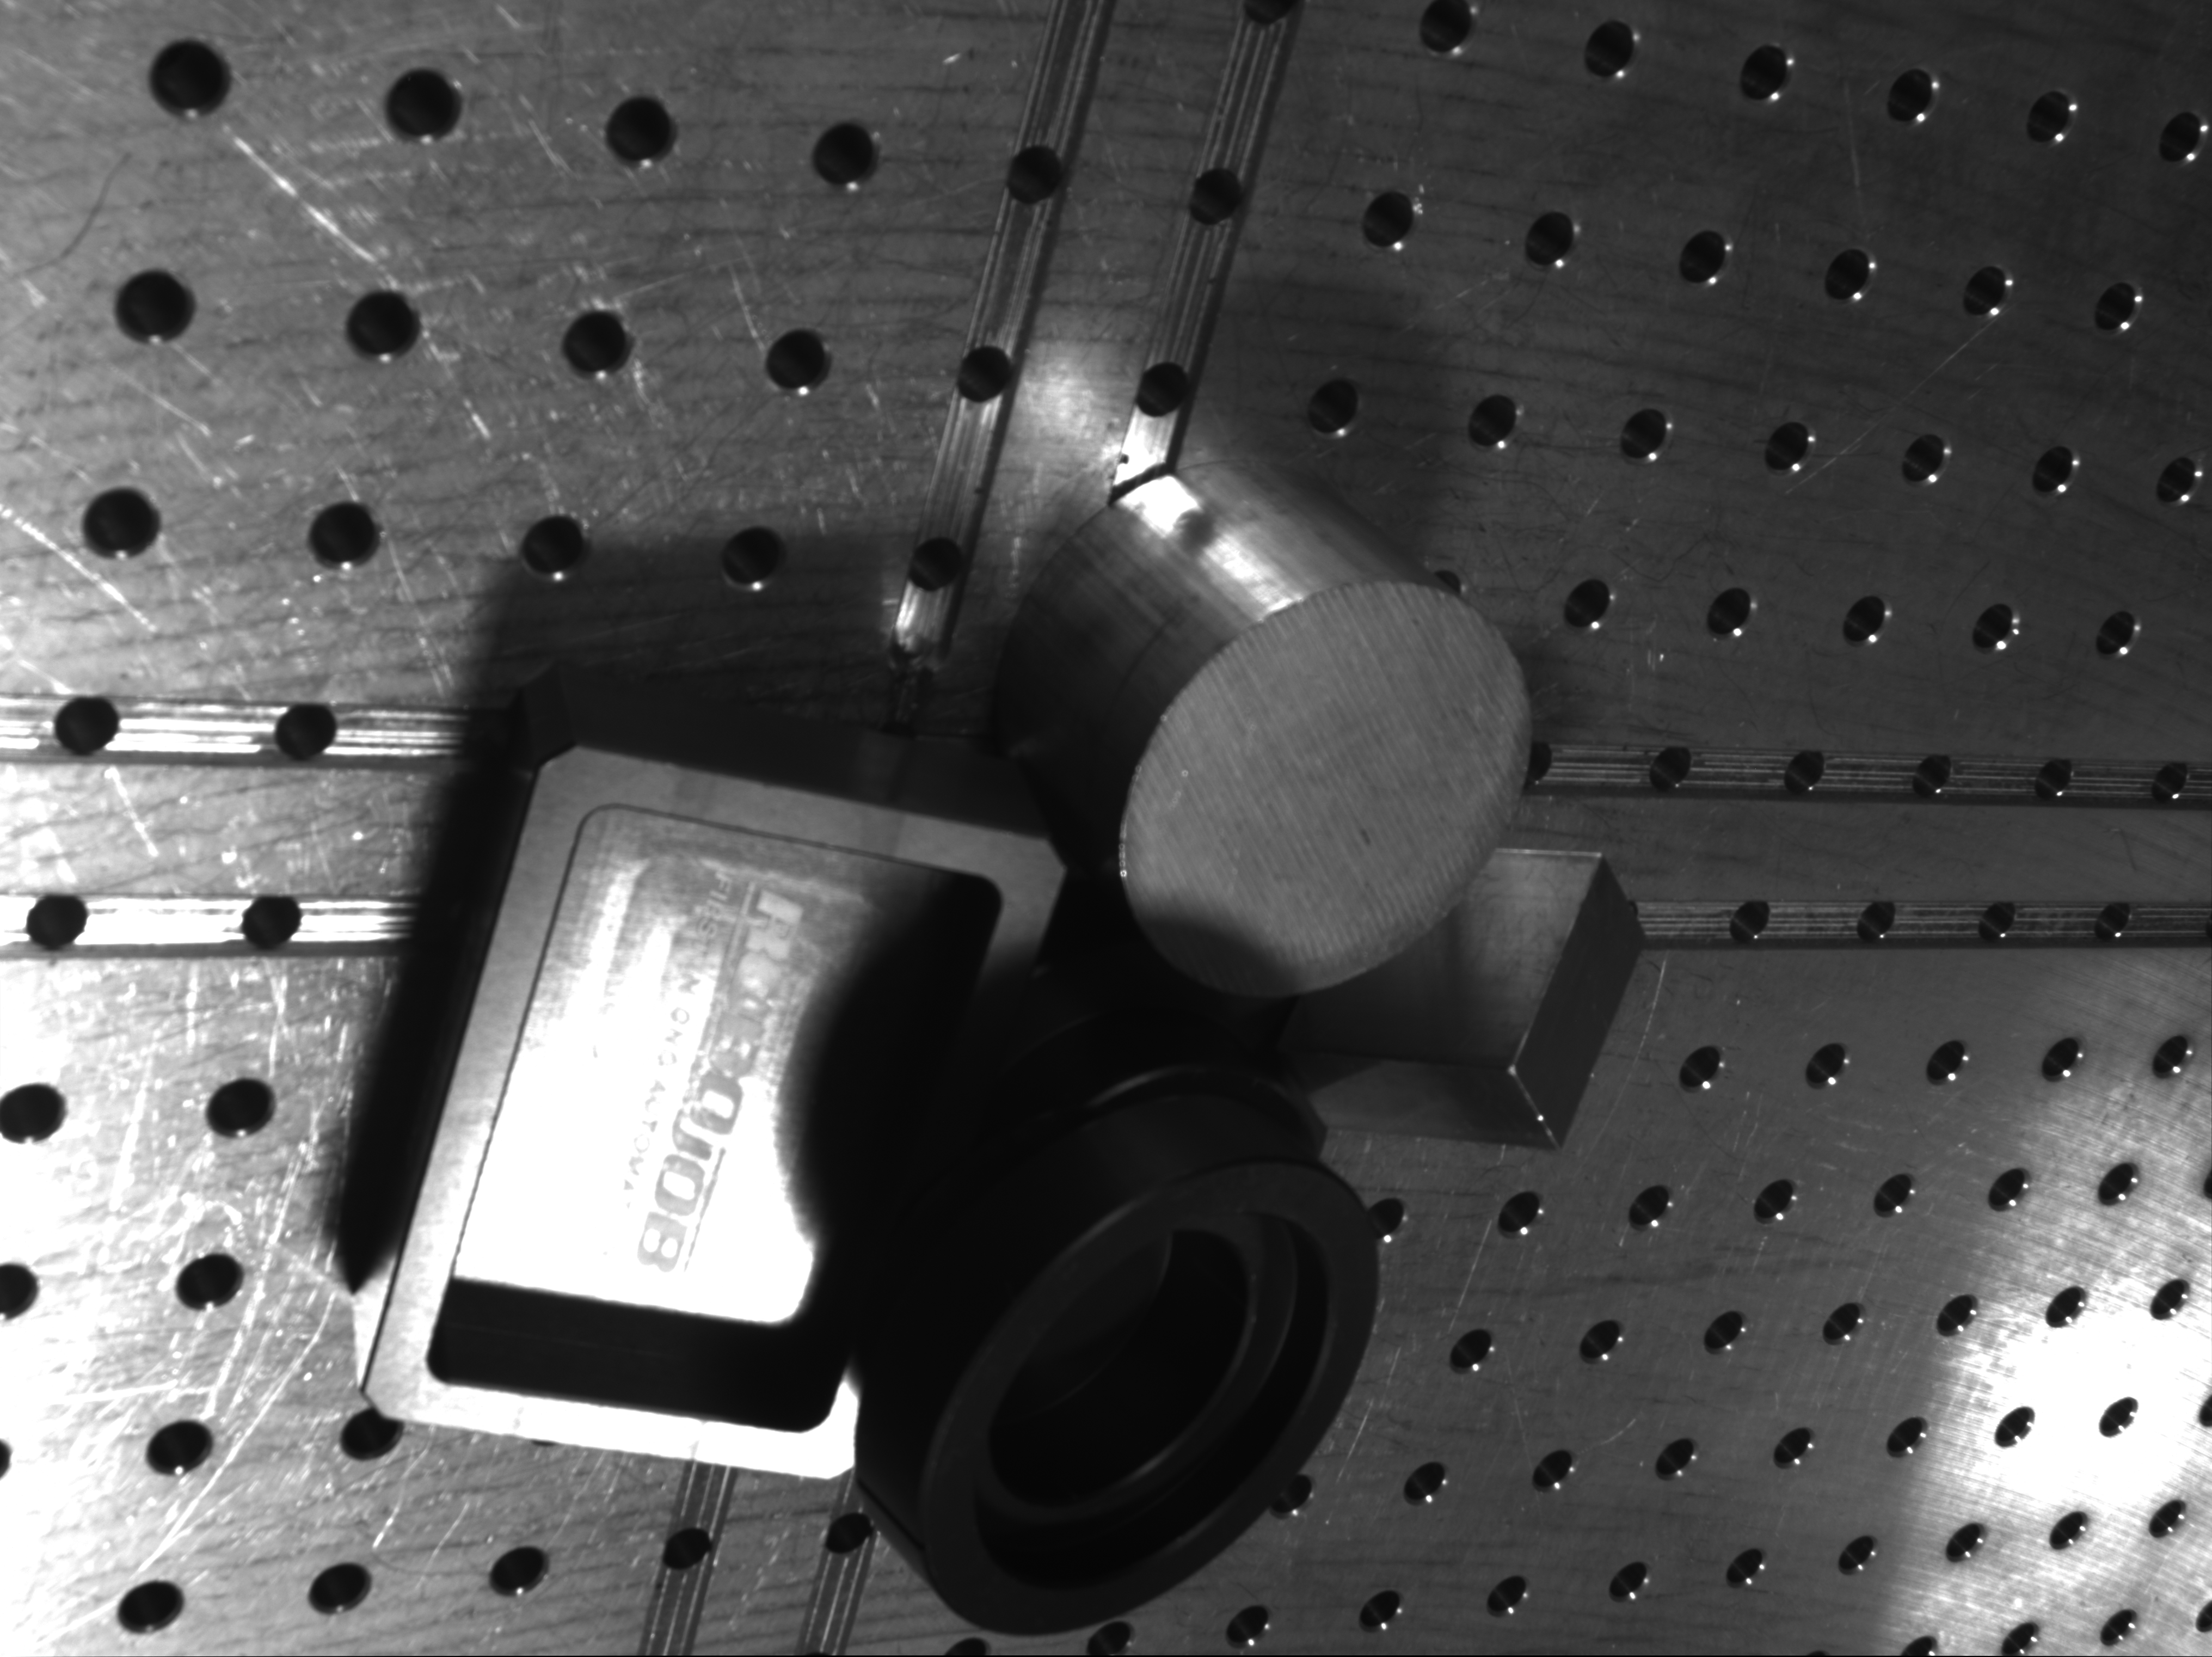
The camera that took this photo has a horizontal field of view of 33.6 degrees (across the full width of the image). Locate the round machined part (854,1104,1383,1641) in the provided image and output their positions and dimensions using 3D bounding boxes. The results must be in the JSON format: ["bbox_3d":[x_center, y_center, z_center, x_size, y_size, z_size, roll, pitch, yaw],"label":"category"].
[{"bbox_3d":[-0.003,0.089,0.633,0.098,0.042,0.098,-24,133,-28],"label":"round machined part"}]

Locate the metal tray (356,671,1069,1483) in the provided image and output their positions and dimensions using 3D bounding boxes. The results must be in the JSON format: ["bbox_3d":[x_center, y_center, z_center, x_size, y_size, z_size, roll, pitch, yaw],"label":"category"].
[{"bbox_3d":[-0.069,0.045,0.624,0.090,0.030,0.130,11,113,-19],"label":"metal tray"}]

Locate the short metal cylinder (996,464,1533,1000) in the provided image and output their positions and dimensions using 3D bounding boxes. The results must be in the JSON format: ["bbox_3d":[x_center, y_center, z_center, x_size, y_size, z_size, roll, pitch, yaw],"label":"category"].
[{"bbox_3d":[0.028,-0.017,0.643,0.080,0.050,0.080,-15,125,-22],"label":"short metal cylinder"}]

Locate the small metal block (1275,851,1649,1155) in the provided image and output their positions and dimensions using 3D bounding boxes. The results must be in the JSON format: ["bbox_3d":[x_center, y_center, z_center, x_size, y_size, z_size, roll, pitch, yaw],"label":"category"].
[{"bbox_3d":[0.067,0.031,0.683,0.025,0.050,0.050,57,48,-40],"label":"small metal block"}]

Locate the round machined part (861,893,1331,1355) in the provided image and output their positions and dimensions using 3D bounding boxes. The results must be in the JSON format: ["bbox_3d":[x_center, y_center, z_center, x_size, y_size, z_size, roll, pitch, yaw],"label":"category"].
[{"bbox_3d":[0.001,0.064,0.681,0.098,0.042,0.098,-15,125,-22],"label":"round machined part"}]
